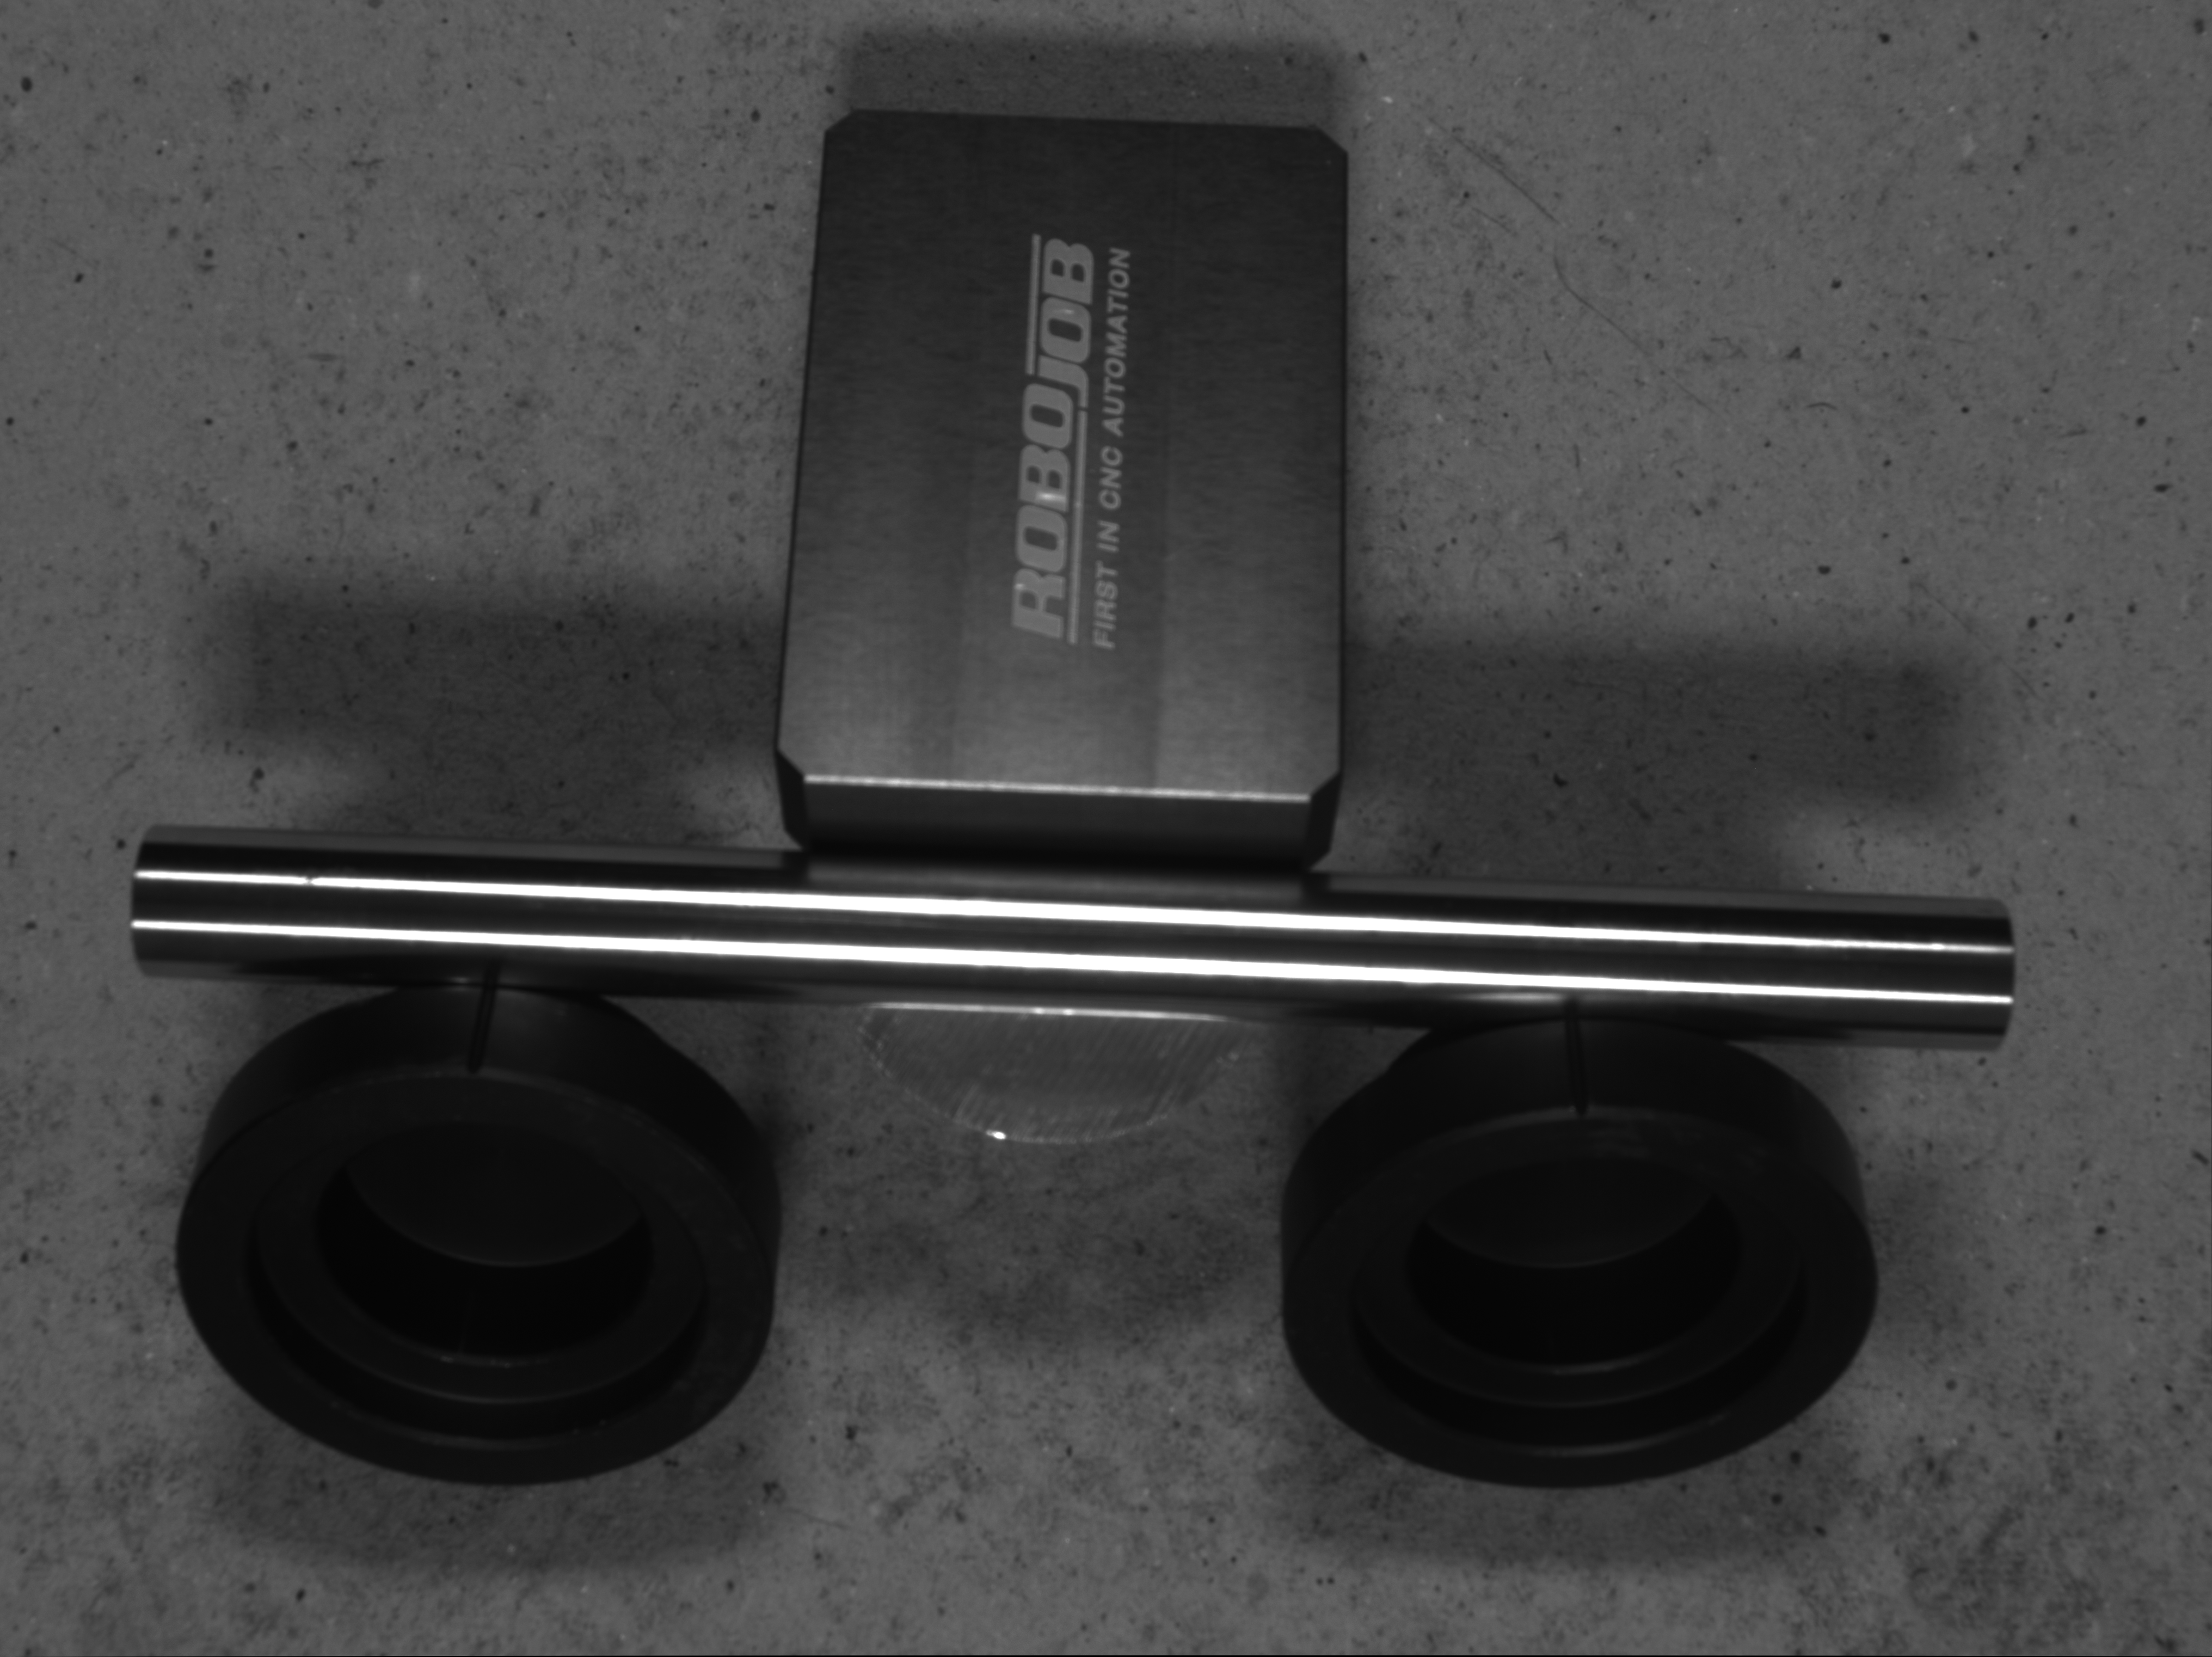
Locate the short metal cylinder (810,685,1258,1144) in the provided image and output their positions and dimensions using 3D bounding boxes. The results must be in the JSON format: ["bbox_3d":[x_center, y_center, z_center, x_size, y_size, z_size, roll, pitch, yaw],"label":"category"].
[{"bbox_3d":[-0.009,0.012,0.633,0.080,0.050,0.080,0,90,0],"label":"short metal cylinder"}]

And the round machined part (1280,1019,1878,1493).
[{"bbox_3d":[0.078,0.066,0.620,0.098,0.042,0.098,0,132,0],"label":"round machined part"}]

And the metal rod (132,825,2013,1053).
[{"bbox_3d":[-0.005,0.018,0.596,0.300,0.025,0.025,2,90,-1],"label":"metal rod"}]

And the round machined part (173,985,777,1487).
[{"bbox_3d":[-0.104,0.063,0.620,0.098,0.042,0.098,-1,128,-1],"label":"round machined part"}]

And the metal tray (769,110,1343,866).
[{"bbox_3d":[-0.006,-0.058,0.616,0.090,0.030,0.130,2,64,0],"label":"metal tray"}]
